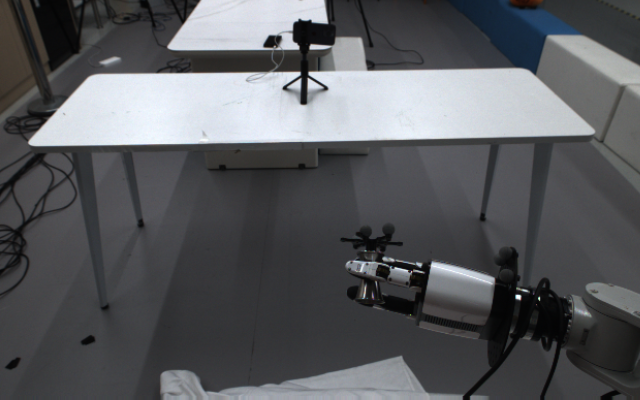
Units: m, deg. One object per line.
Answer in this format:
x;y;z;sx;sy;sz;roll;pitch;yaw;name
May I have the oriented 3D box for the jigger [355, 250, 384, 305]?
0.068;0.106;0.679;0.043;0.043;0.071;4;71;3;jigger
